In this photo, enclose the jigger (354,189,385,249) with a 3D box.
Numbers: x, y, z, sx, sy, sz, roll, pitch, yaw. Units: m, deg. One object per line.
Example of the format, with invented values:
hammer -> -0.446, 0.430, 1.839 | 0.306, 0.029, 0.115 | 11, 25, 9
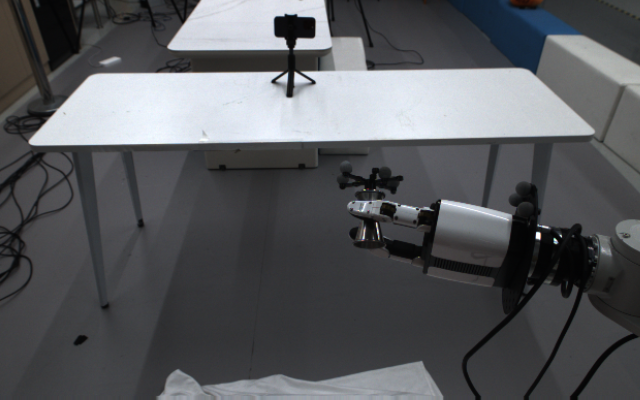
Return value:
jigger -> 0.063, 0.023, 0.620 | 0.043, 0.043, 0.071 | 3, 72, 1
